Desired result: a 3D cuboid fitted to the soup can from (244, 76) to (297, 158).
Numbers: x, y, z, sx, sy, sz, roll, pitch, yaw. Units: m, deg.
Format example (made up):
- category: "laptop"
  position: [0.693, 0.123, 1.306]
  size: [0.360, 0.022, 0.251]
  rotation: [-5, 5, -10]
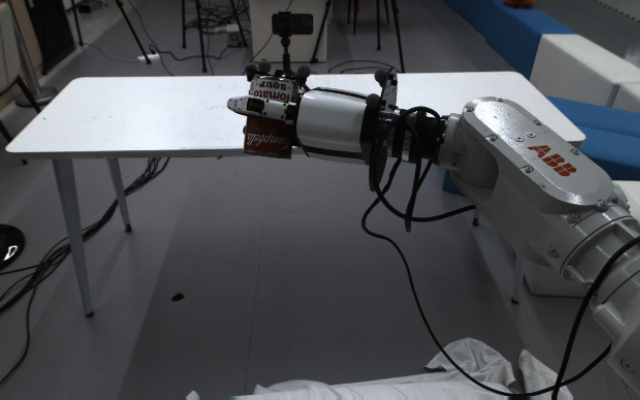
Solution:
- category: "soup can"
  position: [-0.066, -0.110, 0.656]
  size: [0.067, 0.101, 0.067]
  rotation: [7, 3, 0]
